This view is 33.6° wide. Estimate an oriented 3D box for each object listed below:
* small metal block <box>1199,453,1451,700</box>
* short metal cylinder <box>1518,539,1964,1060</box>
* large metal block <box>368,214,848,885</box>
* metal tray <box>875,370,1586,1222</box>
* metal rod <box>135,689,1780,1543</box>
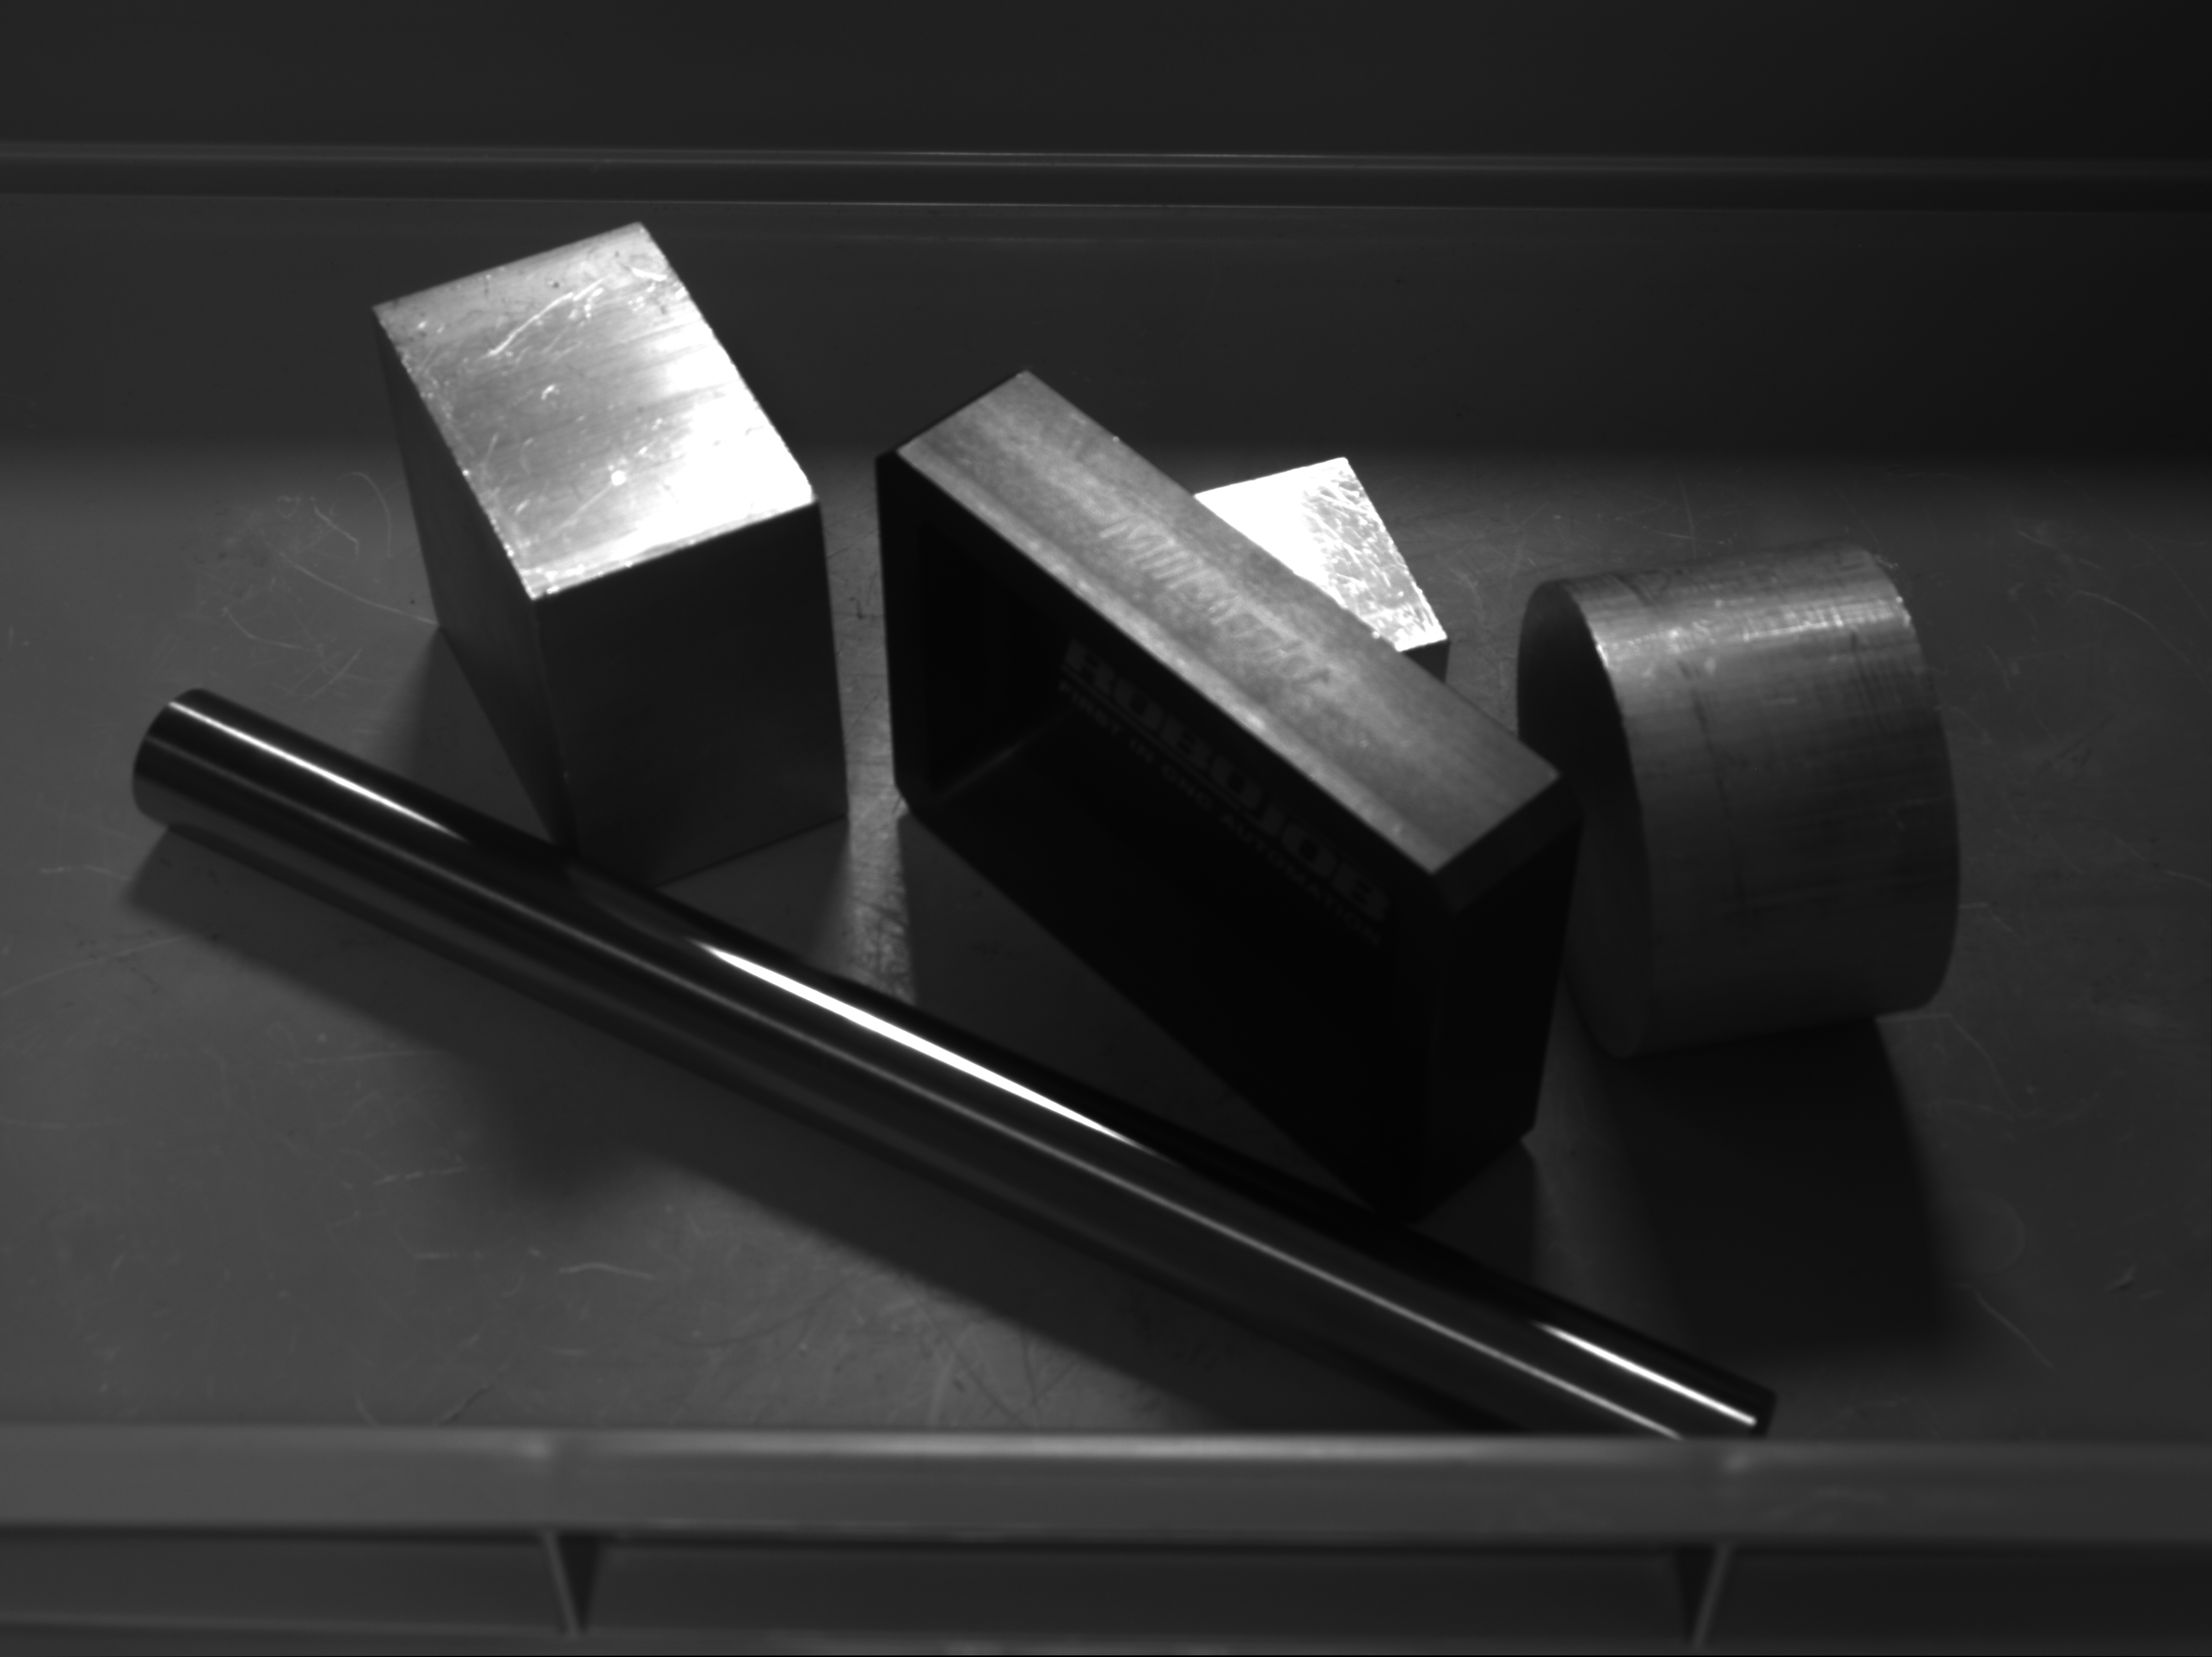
[{"bbox_3d":[0.030,-0.037,0.671,0.050,0.025,0.050,-15,52,-13],"label":"small metal block"},{"bbox_3d":[0.104,-0.005,0.609,0.050,0.080,0.080,-9,50,-7],"label":"short metal cylinder"},{"bbox_3d":[-0.087,-0.046,0.644,0.050,0.080,0.080,-21,53,-16],"label":"large metal block"},{"bbox_3d":[0.017,-0.005,0.602,0.030,0.090,0.130,-35,58,-27],"label":"metal tray"},{"bbox_3d":[-0.033,0.042,0.605,0.300,0.025,0.025,23,54,18],"label":"metal rod"}]
